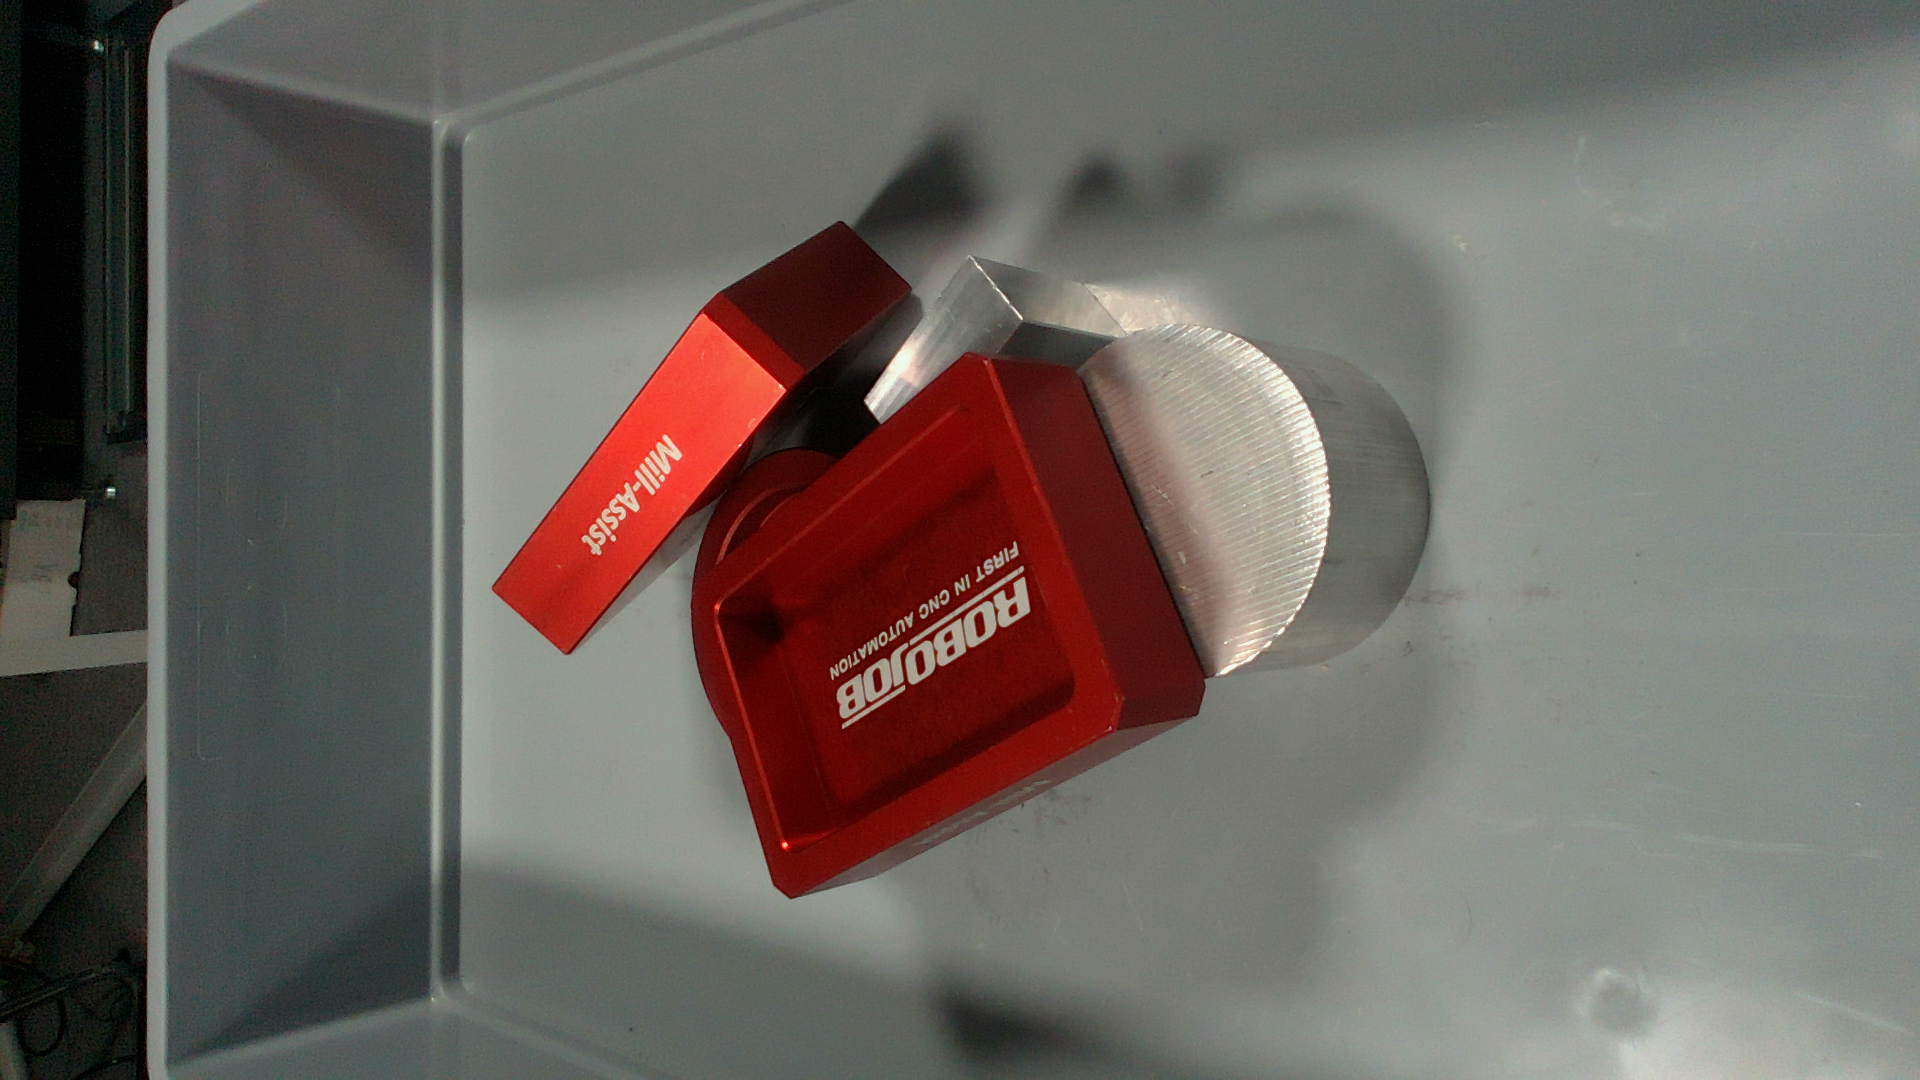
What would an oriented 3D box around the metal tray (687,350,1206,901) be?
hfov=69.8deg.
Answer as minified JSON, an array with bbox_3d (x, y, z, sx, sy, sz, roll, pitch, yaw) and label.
[{"bbox_3d":[-0.011,0.025,0.337,0.130,0.030,0.090,-35,67,39],"label":"metal tray"}]

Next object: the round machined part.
[{"bbox_3d":[-0.033,0.022,0.412,0.098,0.042,0.098,0,90,40],"label":"round machined part"}]

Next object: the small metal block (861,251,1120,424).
[{"bbox_3d":[0.010,-0.045,0.367,0.050,0.050,0.025,-50,60,27],"label":"small metal block"}]

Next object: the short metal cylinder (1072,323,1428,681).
[{"bbox_3d":[0.061,-0.008,0.324,0.080,0.050,0.080,0,90,40],"label":"short metal cylinder"}]

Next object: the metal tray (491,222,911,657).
[{"bbox_3d":[-0.077,-0.030,0.413,0.030,0.090,0.130,43,121,-4],"label":"metal tray"}]
